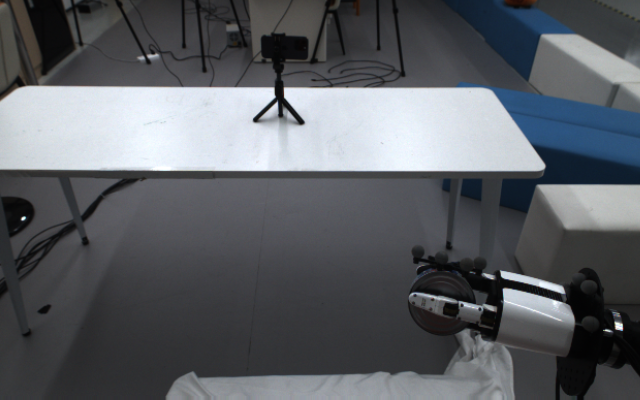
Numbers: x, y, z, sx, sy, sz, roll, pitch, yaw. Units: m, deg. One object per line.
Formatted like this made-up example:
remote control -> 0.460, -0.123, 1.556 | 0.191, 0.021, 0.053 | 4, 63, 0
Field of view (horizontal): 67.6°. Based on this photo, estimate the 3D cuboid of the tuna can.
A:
tuna can -> 0.162, 0.128, 0.639 | 0.085, 0.085, 0.034 | 10, 3, 12
